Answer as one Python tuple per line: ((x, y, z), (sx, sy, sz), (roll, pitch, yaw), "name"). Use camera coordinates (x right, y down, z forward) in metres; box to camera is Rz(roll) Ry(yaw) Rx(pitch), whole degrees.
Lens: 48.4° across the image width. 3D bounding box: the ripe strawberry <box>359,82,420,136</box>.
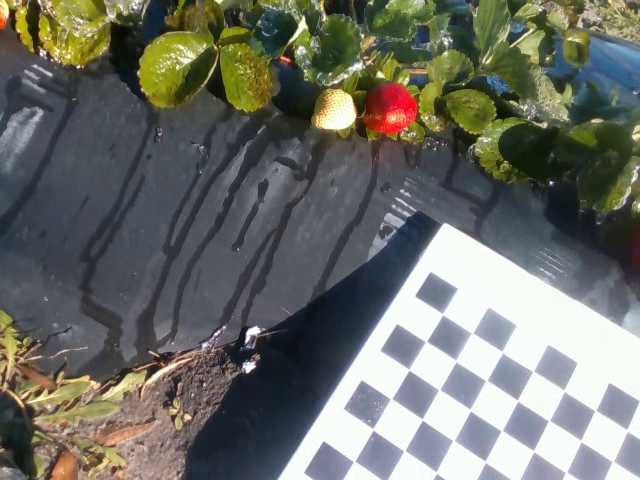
((0.054, -0.097, 0.545), (0.042, 0.046, 0.061), (19, 25, 4), "ripe strawberry")
